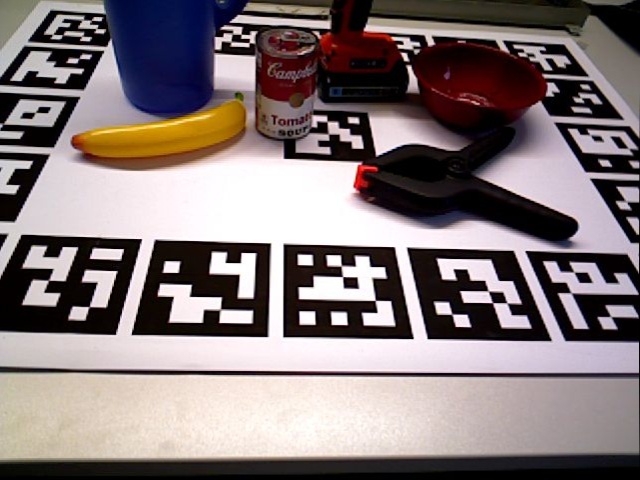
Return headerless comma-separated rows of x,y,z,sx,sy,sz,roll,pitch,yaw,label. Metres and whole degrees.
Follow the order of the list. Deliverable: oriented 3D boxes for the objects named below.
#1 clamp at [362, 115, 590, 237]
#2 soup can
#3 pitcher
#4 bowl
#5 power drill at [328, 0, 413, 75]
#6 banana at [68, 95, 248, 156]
0.142,-0.067,0.529,0.201,0.037,0.163,-1,50,-7,clamp
-0.030,-0.172,0.577,0.067,0.104,0.067,3,37,-3,soup can
-0.147,-0.269,0.557,0.185,0.248,0.132,-17,47,-22,pitcher
0.189,-0.180,0.640,0.161,0.056,0.159,2,47,-3,bowl
0.085,-0.283,0.609,0.183,0.191,0.056,-2,46,-10,power drill
-0.152,-0.115,0.556,0.194,0.040,0.074,-18,42,-24,banana
